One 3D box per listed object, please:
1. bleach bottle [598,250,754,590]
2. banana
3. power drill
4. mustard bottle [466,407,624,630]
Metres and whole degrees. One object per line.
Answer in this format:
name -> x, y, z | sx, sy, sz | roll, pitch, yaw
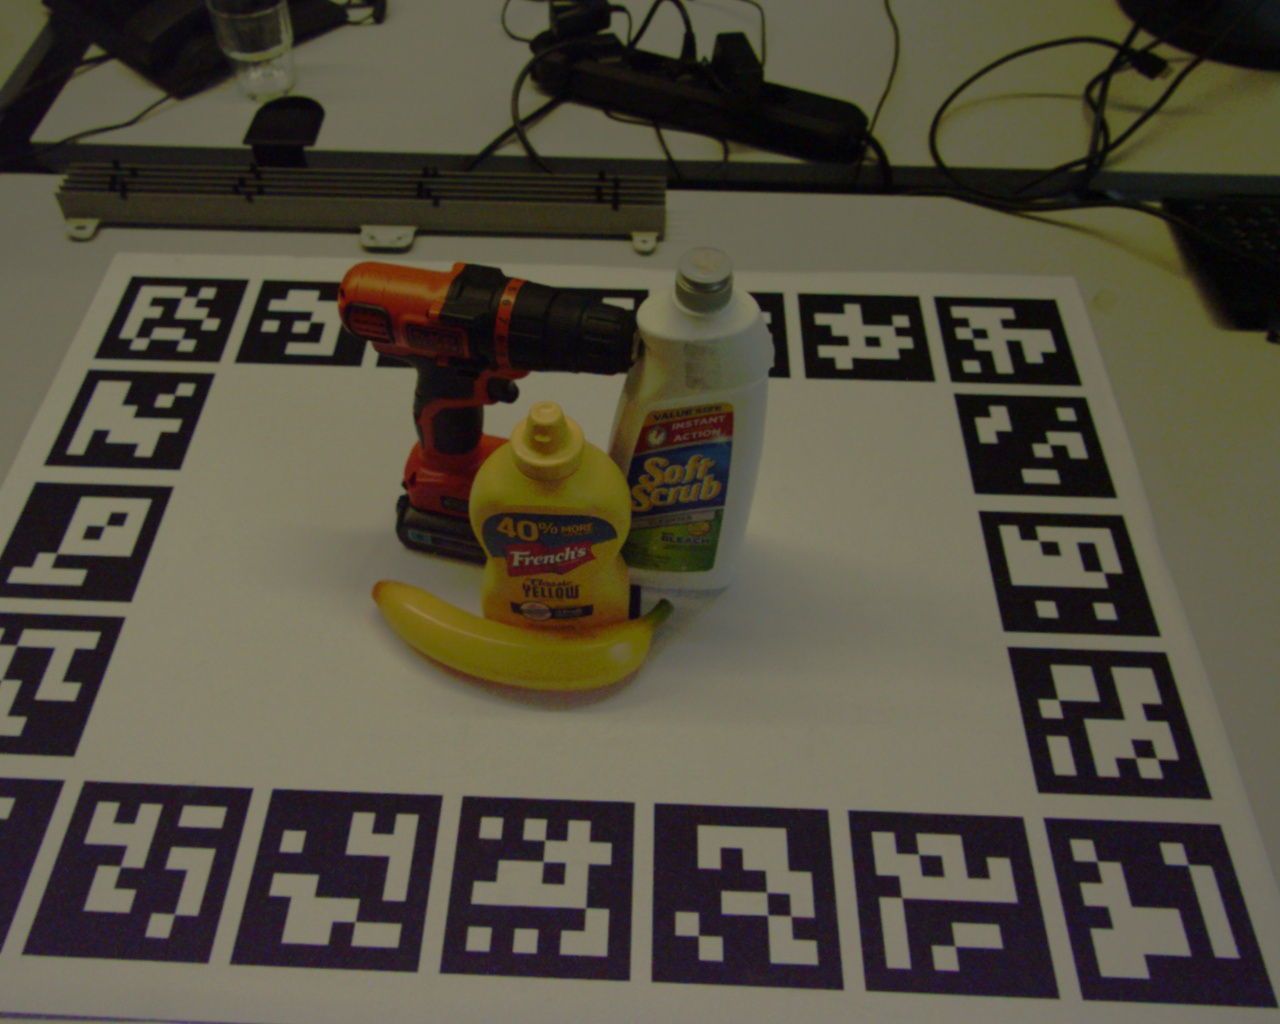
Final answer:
bleach bottle -> 0.015, -0.053, 0.722 | 0.103, 0.250, 0.068 | 5, 47, 3
banana -> -0.081, 0.079, 0.759 | 0.198, 0.038, 0.074 | 5, 54, 6
power drill -> -0.095, -0.066, 0.737 | 0.185, 0.186, 0.057 | 13, 53, 7
mustard bottle -> -0.058, 0.005, 0.708 | 0.096, 0.191, 0.058 | 3, 53, 0
